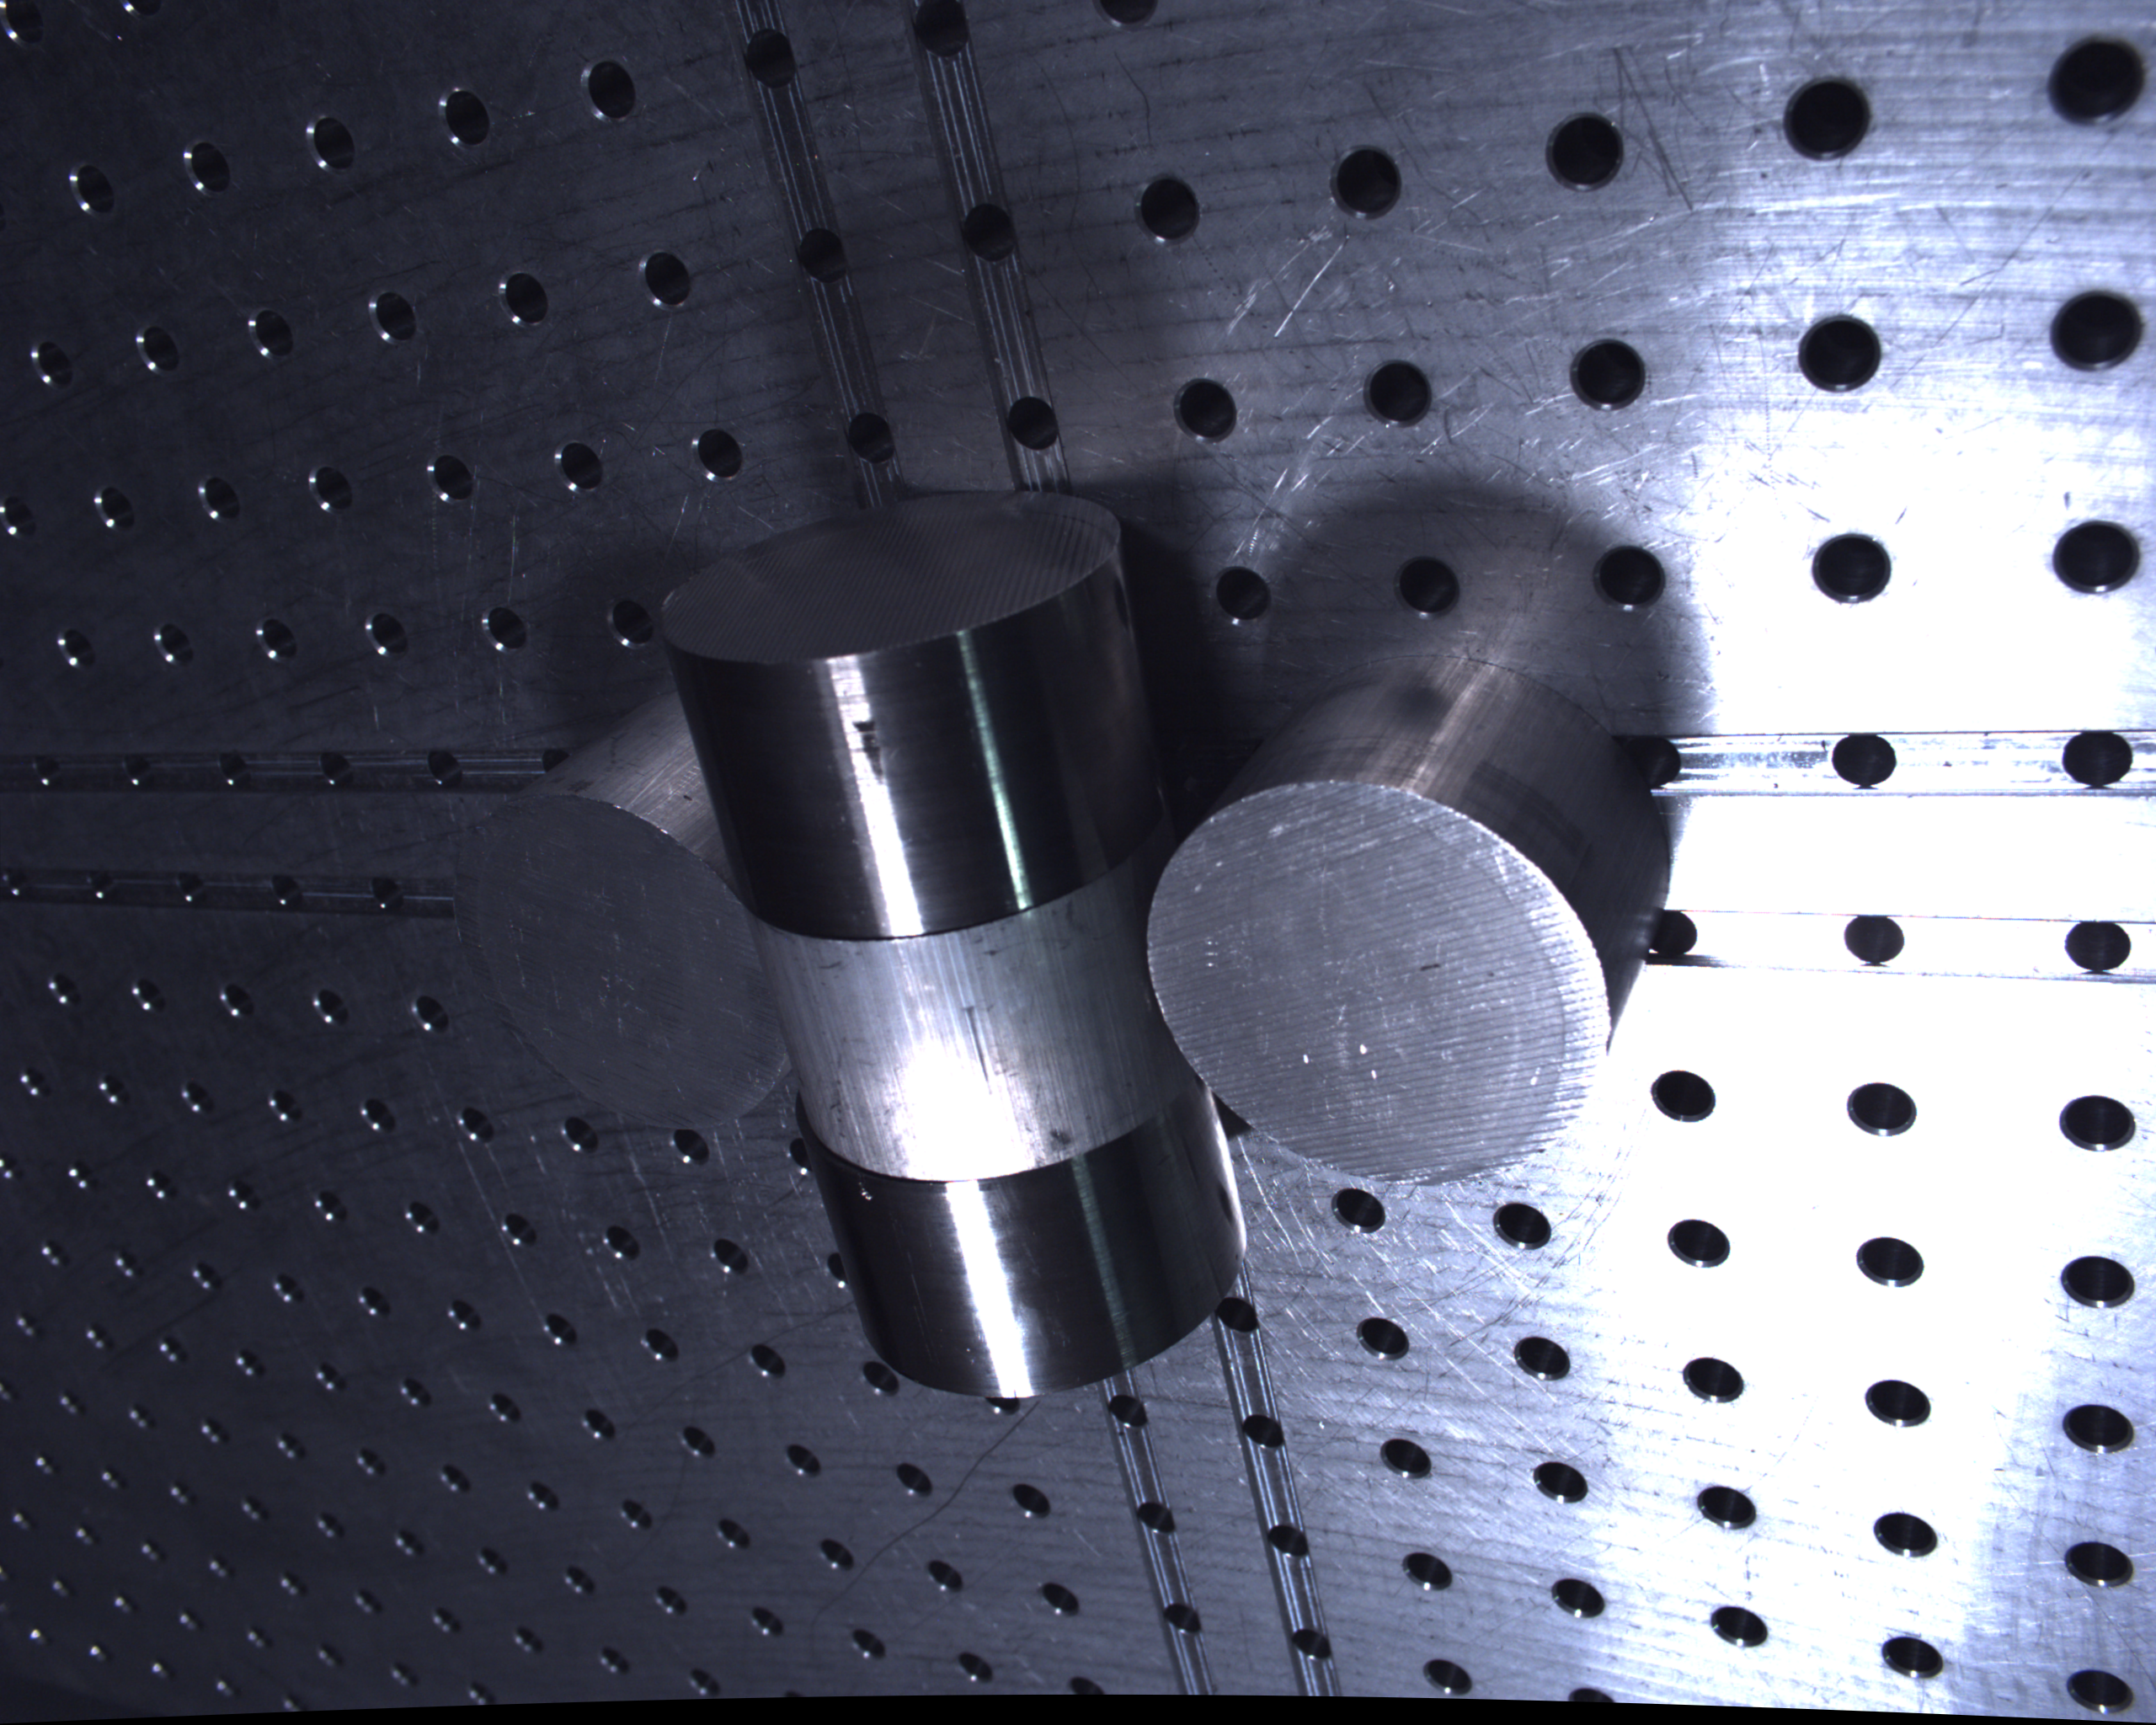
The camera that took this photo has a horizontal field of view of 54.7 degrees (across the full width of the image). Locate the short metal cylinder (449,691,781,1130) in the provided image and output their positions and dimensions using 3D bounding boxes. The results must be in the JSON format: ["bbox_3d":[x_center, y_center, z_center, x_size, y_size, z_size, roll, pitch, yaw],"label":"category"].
[{"bbox_3d":[-0.084,0.010,0.442,0.080,0.050,0.079,13,124,20],"label":"short metal cylinder"}]

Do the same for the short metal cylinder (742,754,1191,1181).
[{"bbox_3d":[-0.019,0.016,0.393,0.080,0.080,0.050,2,119,27],"label":"short metal cylinder"}]

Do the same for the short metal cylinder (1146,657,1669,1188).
[{"bbox_3d":[0.059,0.010,0.368,0.080,0.050,0.079,13,124,20],"label":"short metal cylinder"}]

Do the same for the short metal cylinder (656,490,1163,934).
[{"bbox_3d":[-0.028,-0.029,0.370,0.080,0.080,0.050,3,120,26],"label":"short metal cylinder"}]

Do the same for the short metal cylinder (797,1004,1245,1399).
[{"bbox_3d":[-0.010,0.061,0.417,0.080,0.080,0.050,1,119,27],"label":"short metal cylinder"}]
